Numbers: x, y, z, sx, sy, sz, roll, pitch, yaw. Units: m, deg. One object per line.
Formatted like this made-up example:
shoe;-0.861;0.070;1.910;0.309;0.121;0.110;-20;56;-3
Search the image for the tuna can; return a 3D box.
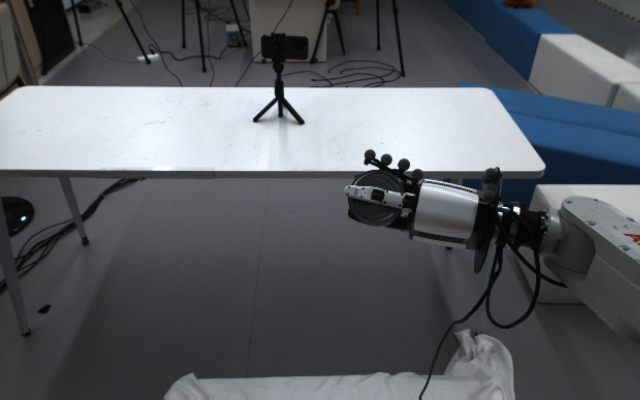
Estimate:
tuna can;0.089;-0.004;0.740;0.085;0.085;0.034;13;-5;16
